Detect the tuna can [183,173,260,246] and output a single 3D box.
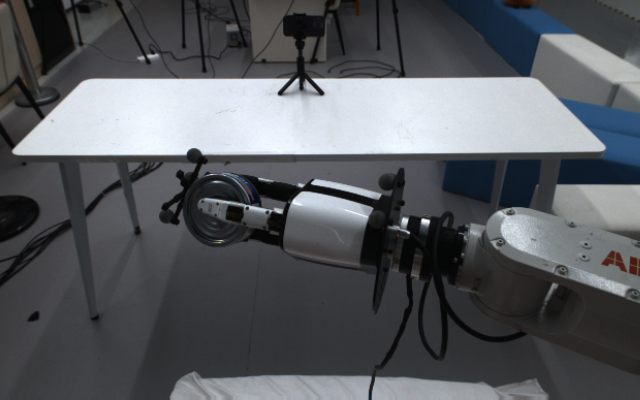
[{"bbox_3d":[-0.109,0.015,0.555,0.085,0.085,0.034,9,5,10],"label":"tuna can"}]
